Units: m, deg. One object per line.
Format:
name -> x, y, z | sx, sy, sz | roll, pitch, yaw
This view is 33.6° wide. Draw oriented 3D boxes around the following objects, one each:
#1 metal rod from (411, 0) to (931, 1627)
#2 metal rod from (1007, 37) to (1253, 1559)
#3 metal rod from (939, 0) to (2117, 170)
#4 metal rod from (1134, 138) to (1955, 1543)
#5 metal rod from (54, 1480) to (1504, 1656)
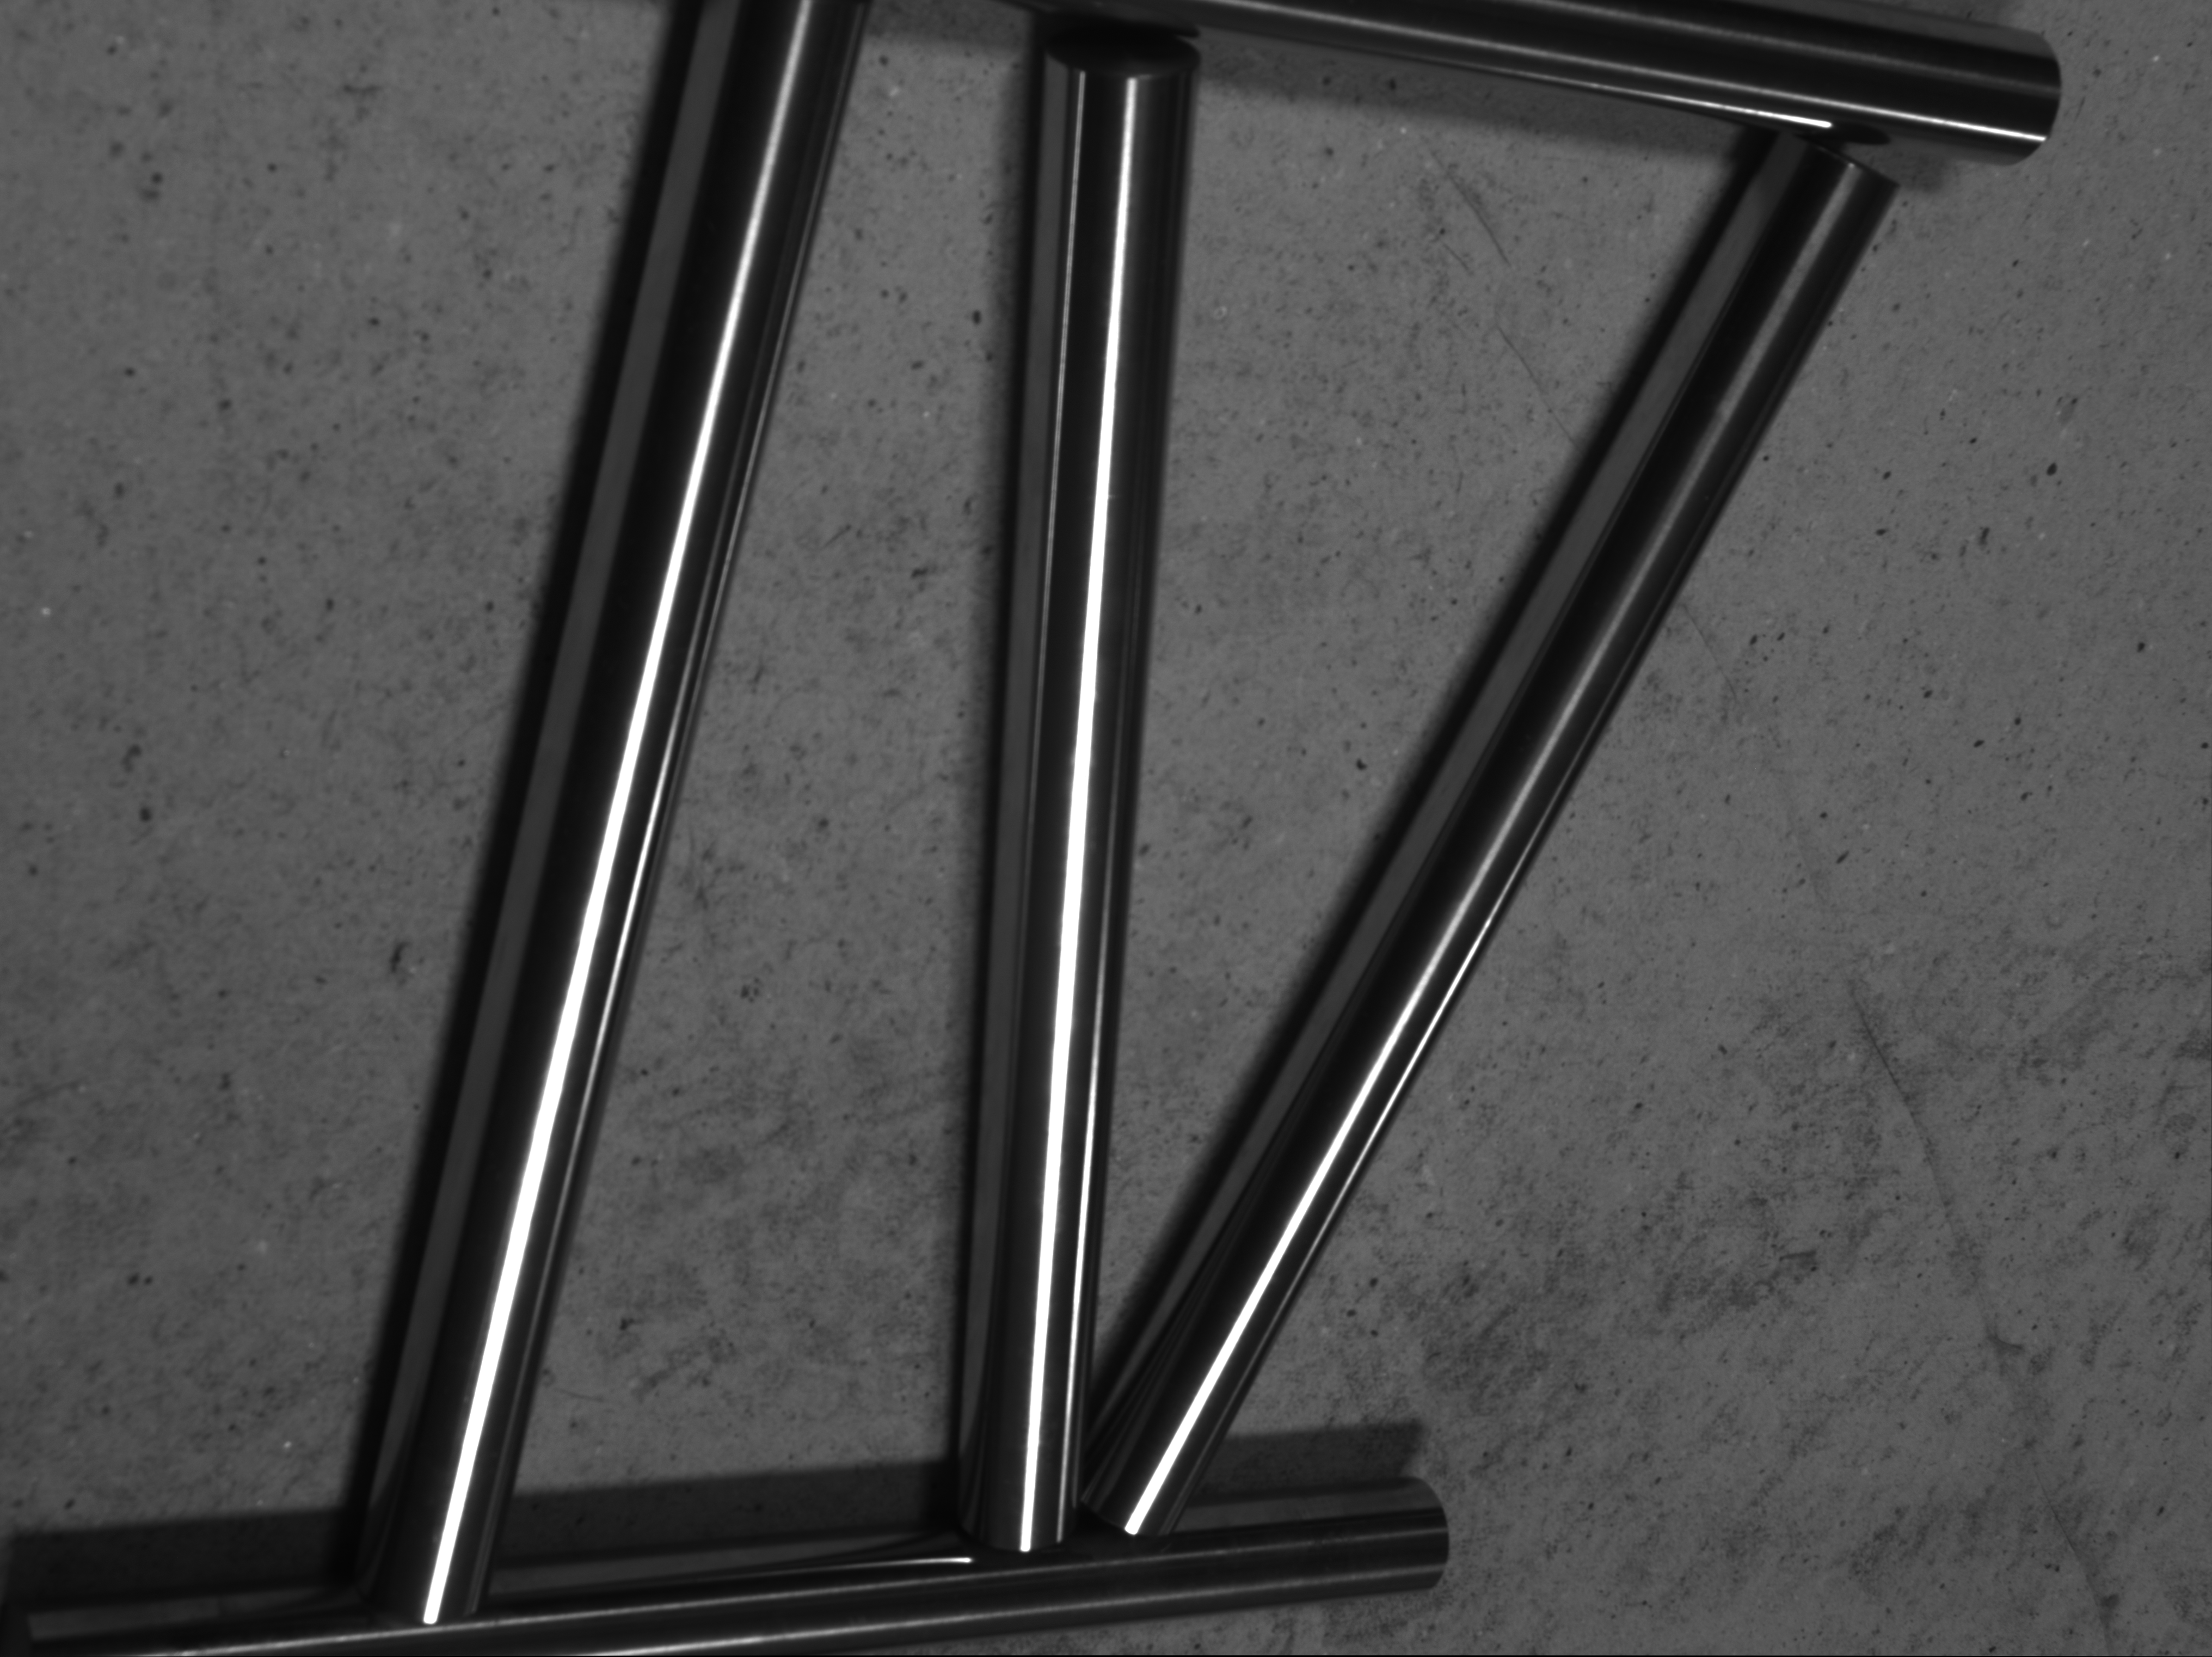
metal rod -> -0.076, 0.005, 0.609 | 0.025, 0.025, 0.300 | 1, 117, -31
metal rod -> 0.002, 0.007, 0.655 | 0.025, 0.025, 0.300 | -11, 123, -24
metal rod -> 0.047, -0.136, 0.594 | 0.301, 0.025, 0.025 | 1, 118, -31
metal rod -> 0.077, 0.008, 0.700 | 0.025, 0.025, 0.300 | 14, 110, -36
metal rod -> -0.051, 0.150, 0.713 | 0.301, 0.025, 0.025 | 1, 118, -31
